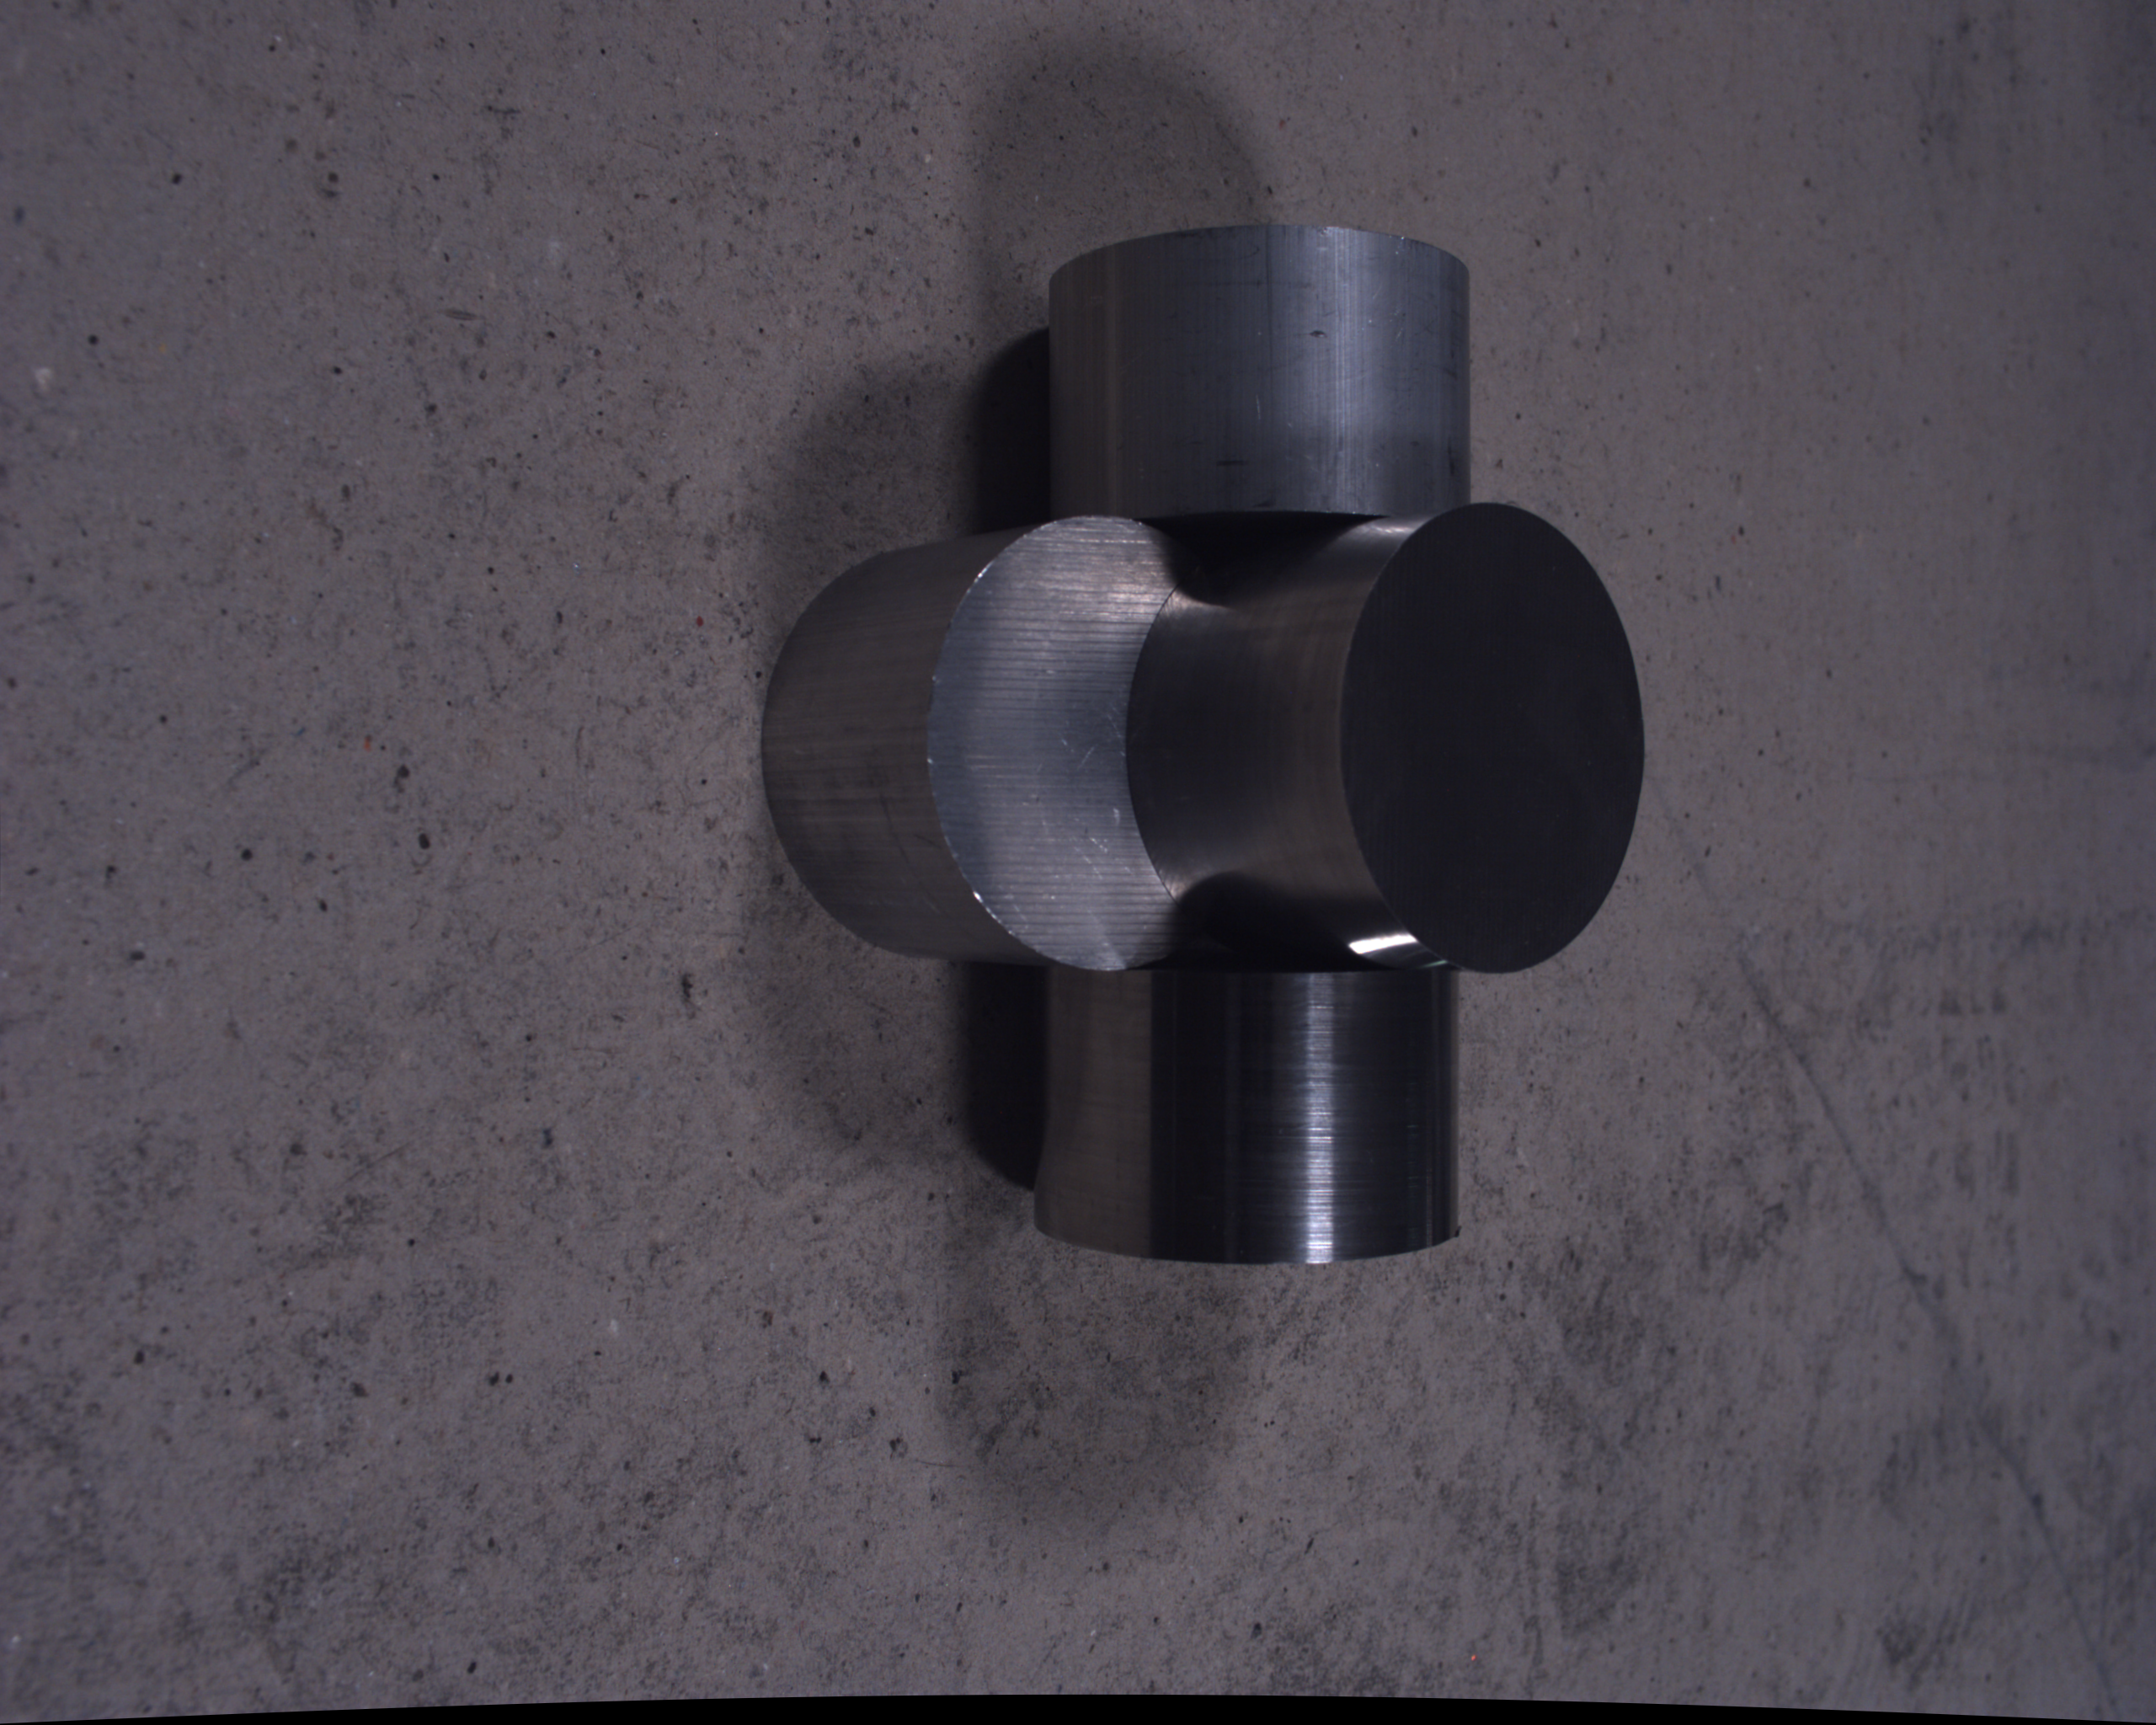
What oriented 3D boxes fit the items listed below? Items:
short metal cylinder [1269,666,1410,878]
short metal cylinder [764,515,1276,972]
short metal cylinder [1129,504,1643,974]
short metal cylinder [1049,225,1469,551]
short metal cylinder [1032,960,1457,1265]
[{"bbox_3d":[0.052,-0.022,0.435,0.081,0.050,0.079,0,90,-40],"label":"short metal cylinder"},{"bbox_3d":[-0.010,-0.021,0.383,0.081,0.050,0.079,0,90,-40],"label":"short metal cylinder"},{"bbox_3d":[0.056,-0.021,0.373,0.081,0.050,0.079,0,90,-40],"label":"short metal cylinder"},{"bbox_3d":[0.035,-0.086,0.402,0.081,0.080,0.050,0,91,-40],"label":"short metal cylinder"},{"bbox_3d":[0.032,0.044,0.400,0.081,0.080,0.050,0,90,-40],"label":"short metal cylinder"}]
